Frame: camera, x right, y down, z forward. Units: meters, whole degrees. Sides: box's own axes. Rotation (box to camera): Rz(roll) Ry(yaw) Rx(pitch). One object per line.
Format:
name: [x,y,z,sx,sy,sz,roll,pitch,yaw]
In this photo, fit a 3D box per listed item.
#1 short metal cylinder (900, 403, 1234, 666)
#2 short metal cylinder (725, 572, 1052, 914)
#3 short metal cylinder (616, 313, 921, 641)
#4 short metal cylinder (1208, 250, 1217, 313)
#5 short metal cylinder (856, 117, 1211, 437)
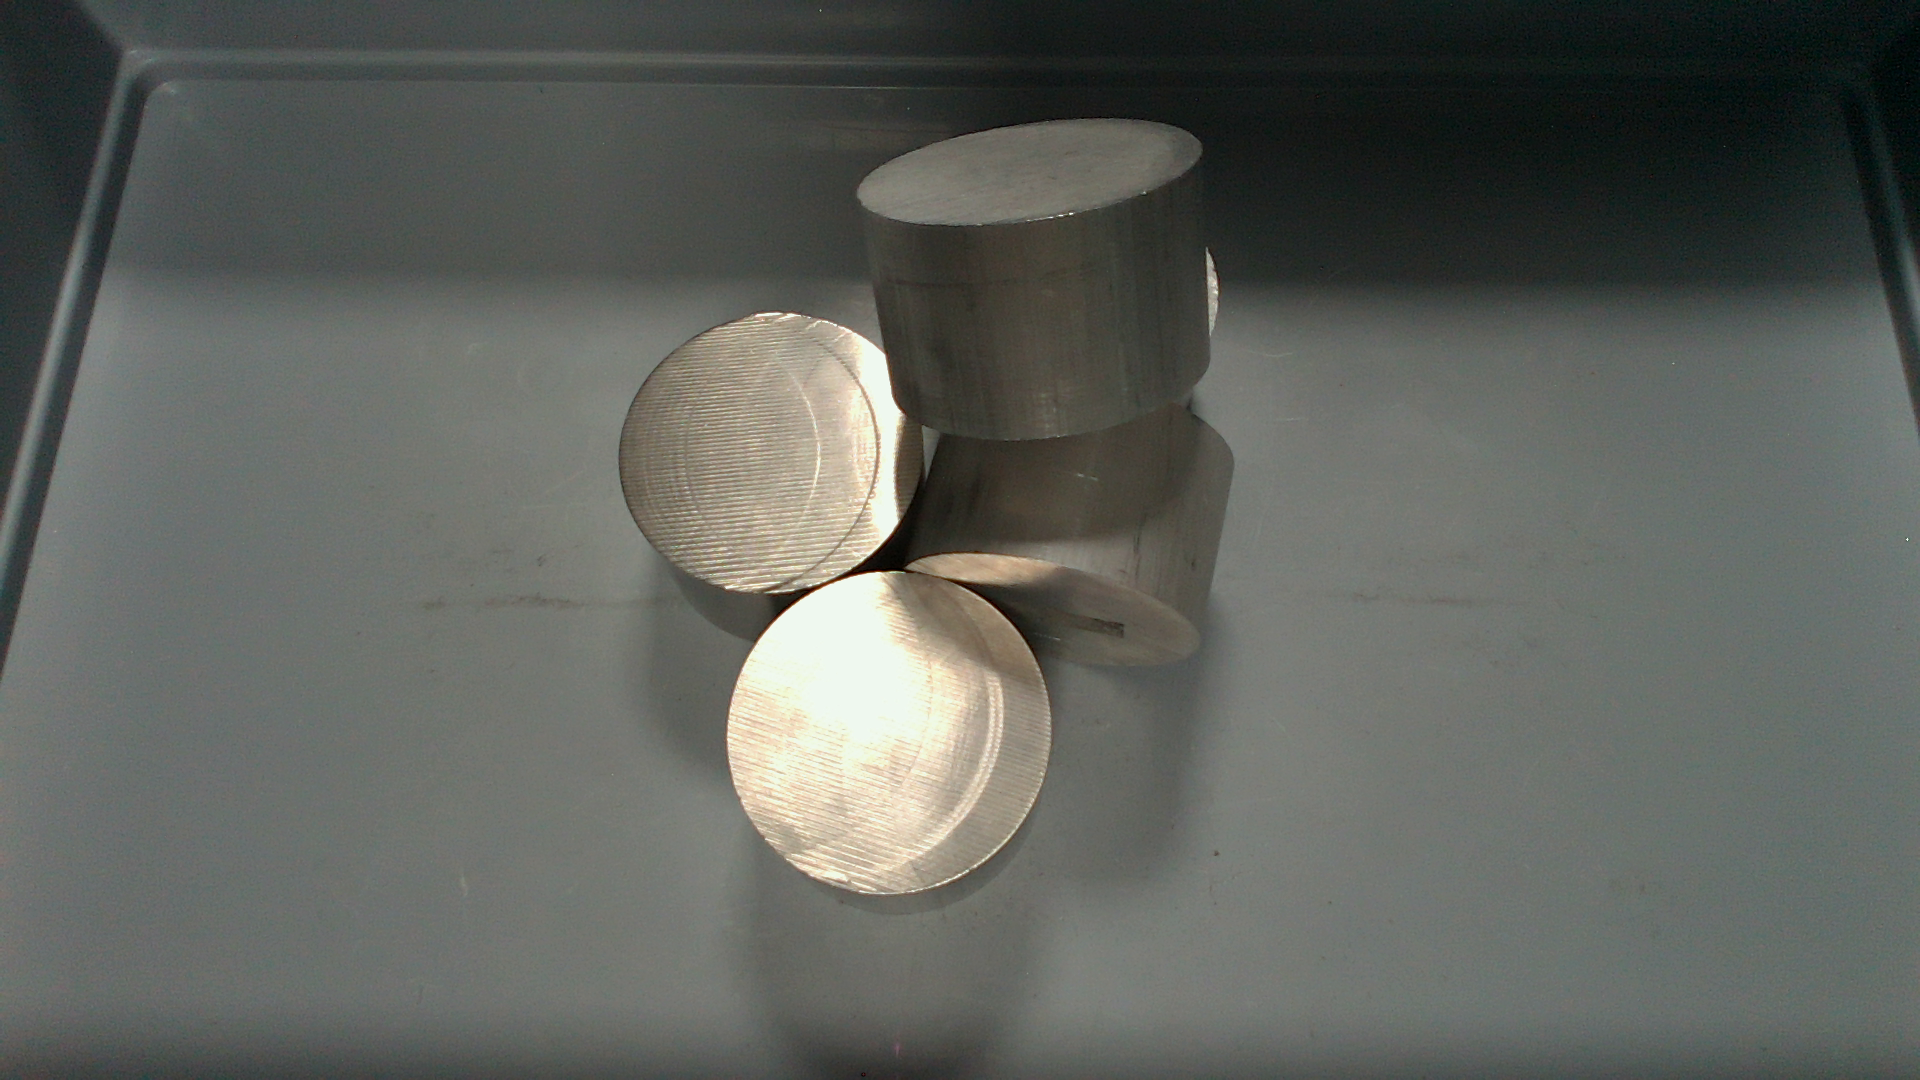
short metal cylinder: [0.029,-0.004,0.366,0.080,0.080,0.050,13,70,5]
short metal cylinder: [-0.017,0.054,0.360,0.080,0.050,0.080,0,70,0]
short metal cylinder: [-0.050,-0.016,0.385,0.080,0.050,0.080,0,70,0]
short metal cylinder: [0.031,-0.061,0.402,0.080,0.050,0.080,0,70,0]
short metal cylinder: [0.019,-0.065,0.329,0.080,0.050,0.080,-6,30,4]
